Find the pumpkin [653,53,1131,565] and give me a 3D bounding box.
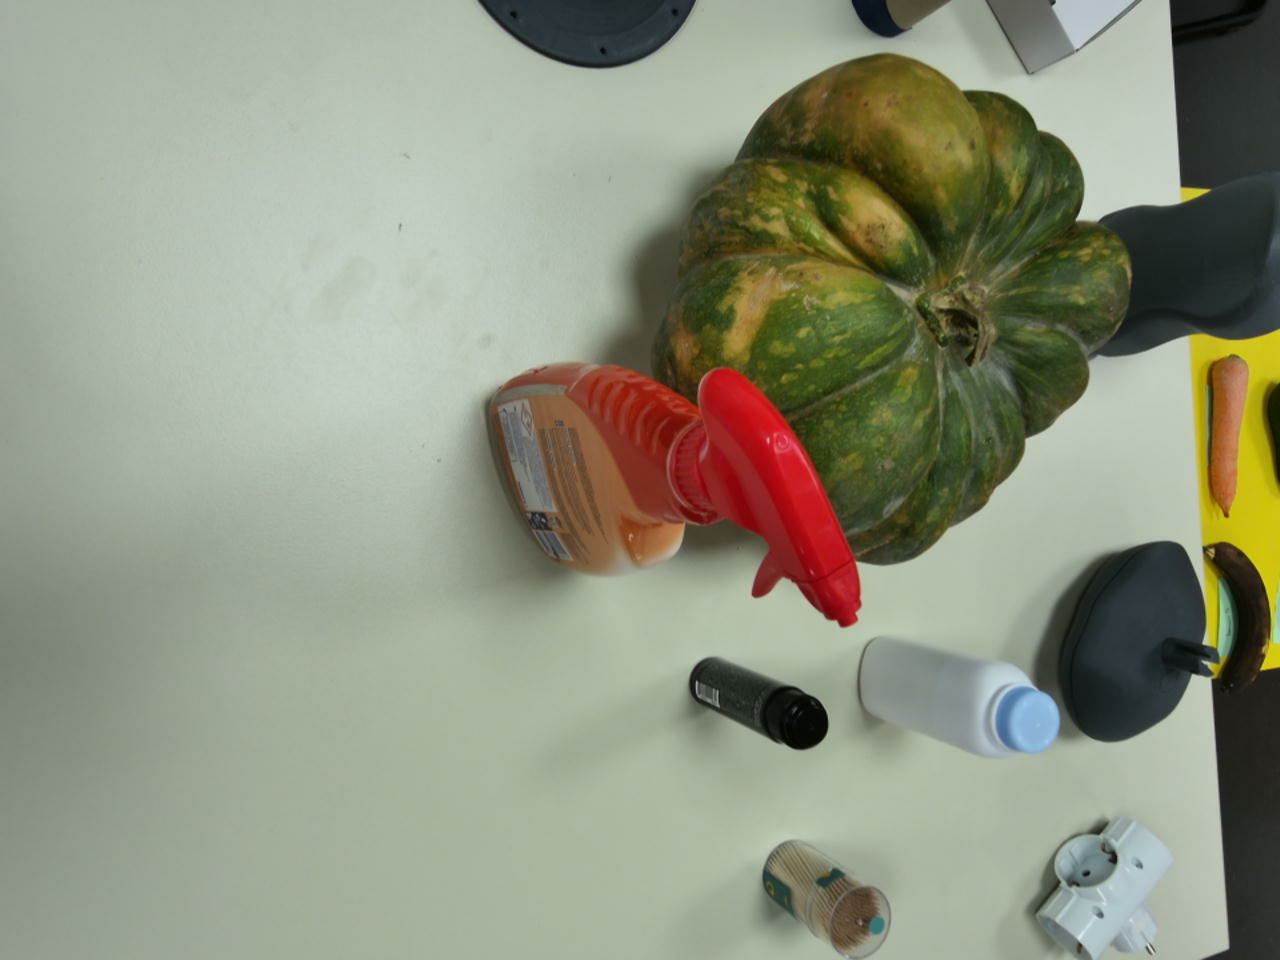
[{"bbox_3d":[0.130,-0.084,0.529,0.237,0.173,0.270,34,79,-19],"label":"pumpkin"}]
